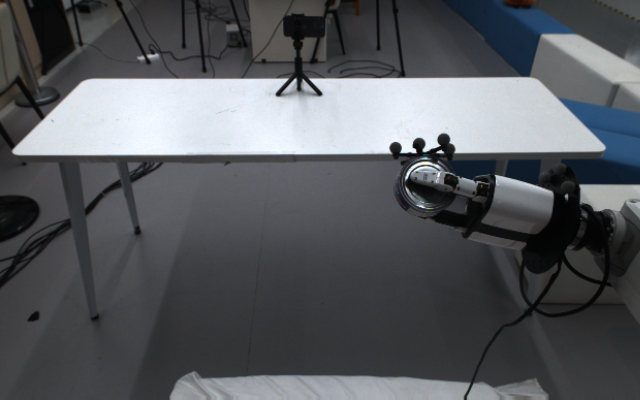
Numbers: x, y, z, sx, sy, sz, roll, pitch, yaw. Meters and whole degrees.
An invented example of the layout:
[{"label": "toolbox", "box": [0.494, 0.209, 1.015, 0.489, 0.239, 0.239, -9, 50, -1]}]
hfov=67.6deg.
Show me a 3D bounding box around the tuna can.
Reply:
[{"label": "tuna can", "box": [0.151, -0.021, 0.692, 0.085, 0.034, 0.085, 1, 70, -3]}]
